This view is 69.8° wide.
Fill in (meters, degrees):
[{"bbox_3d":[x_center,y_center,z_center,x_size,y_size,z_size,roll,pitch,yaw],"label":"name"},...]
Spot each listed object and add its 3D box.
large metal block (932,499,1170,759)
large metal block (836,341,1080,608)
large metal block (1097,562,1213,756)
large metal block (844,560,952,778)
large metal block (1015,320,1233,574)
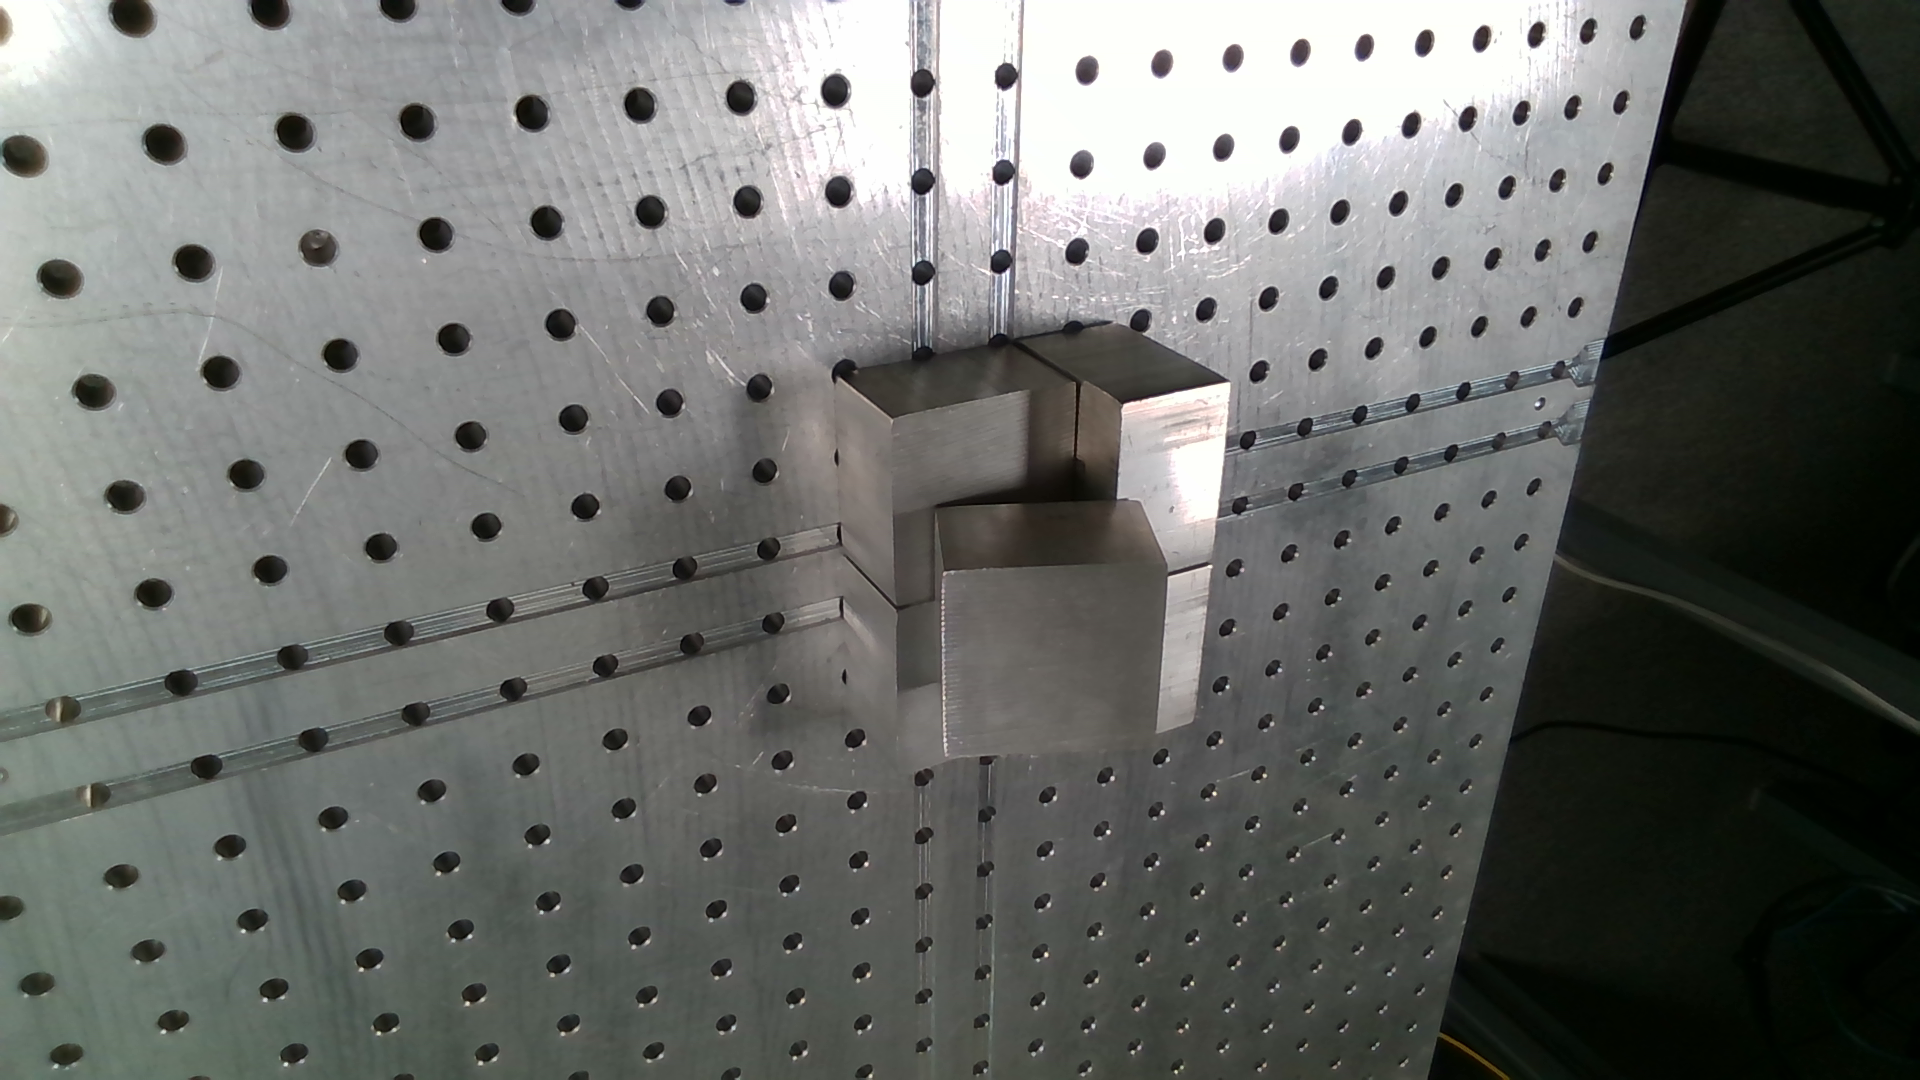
[{"bbox_3d":[0.032,0.033,0.519,0.080,0.050,0.080,-2,118,-4],"label":"large metal block"},{"bbox_3d":[-0.001,-0.028,0.549,0.080,0.050,0.080,-14,121,-25],"label":"large metal block"},{"bbox_3d":[0.062,0.034,0.604,0.050,0.080,0.080,-14,121,-25],"label":"large metal block"},{"bbox_3d":[-0.002,0.044,0.587,0.080,0.050,0.080,-14,121,-25],"label":"large metal block"},{"bbox_3d":[0.063,-0.037,0.566,0.050,0.080,0.080,-14,121,-25],"label":"large metal block"}]
